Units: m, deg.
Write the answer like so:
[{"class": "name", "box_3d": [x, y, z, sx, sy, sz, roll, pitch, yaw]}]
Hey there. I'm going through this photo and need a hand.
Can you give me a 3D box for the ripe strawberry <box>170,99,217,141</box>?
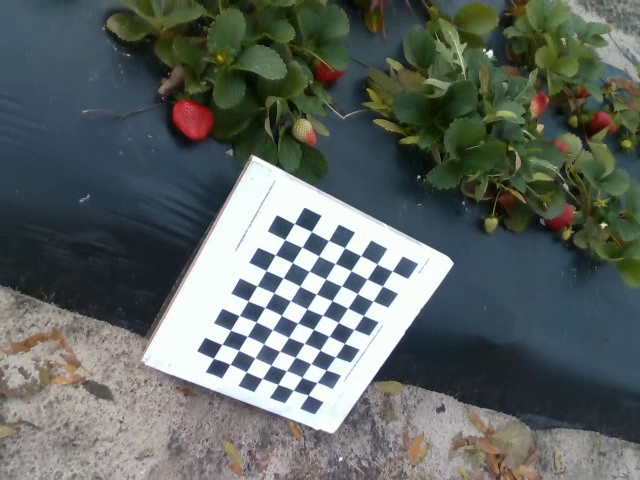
[{"class": "ripe strawberry", "box_3d": [-0.114, -0.107, 0.493, 0.037, 0.046, 0.037, -14, -28, 4]}]
